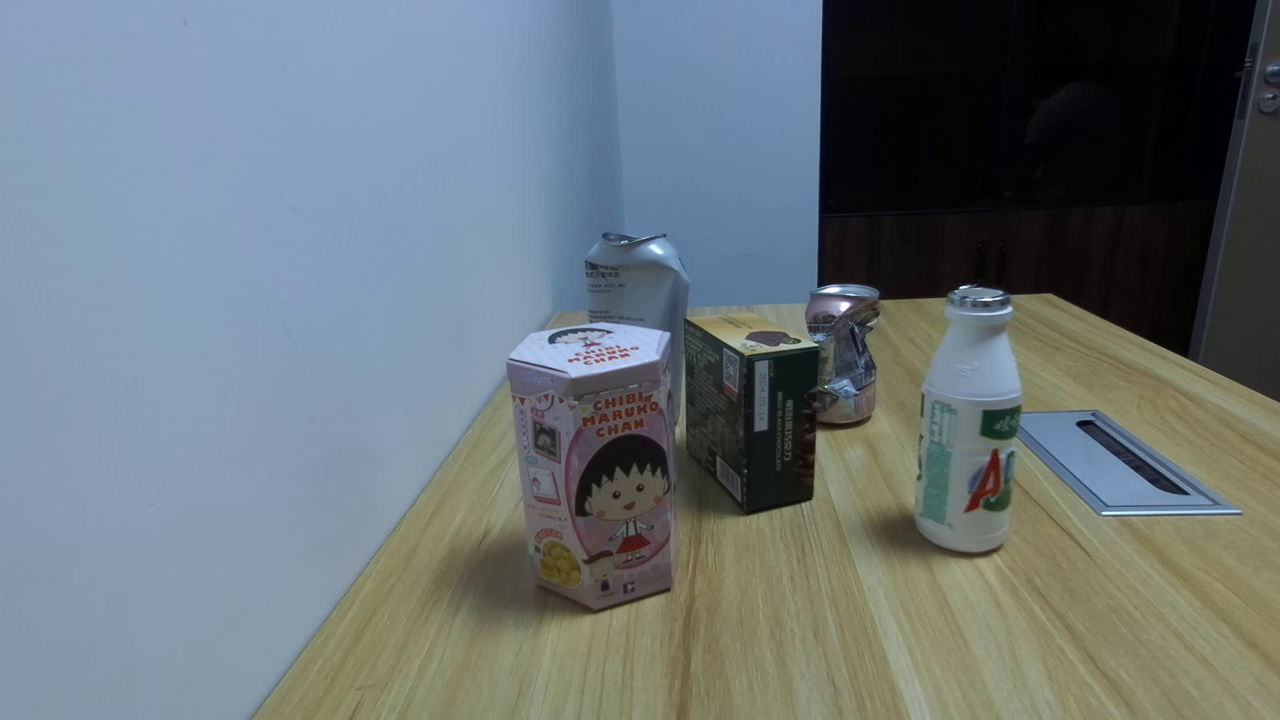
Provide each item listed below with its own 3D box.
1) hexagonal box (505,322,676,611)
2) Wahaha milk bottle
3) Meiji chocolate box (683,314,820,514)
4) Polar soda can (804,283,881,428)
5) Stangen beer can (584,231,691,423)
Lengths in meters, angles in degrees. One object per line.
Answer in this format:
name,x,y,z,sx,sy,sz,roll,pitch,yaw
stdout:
hexagonal box,-0.021,0.056,0.389,0.091,0.136,0.083,-11,19,-20
Wahaha milk bottle,0.188,0.040,0.402,0.053,0.136,0.053,-3,17,1
Meiji chocolate box,0.073,0.031,0.491,0.056,0.109,0.109,-8,19,-16
Polar soda can,0.165,-0.005,0.582,0.070,0.114,0.074,1,21,-6
Stangen beer can,0.000,-0.023,0.583,0.077,0.162,0.065,-6,19,-10
